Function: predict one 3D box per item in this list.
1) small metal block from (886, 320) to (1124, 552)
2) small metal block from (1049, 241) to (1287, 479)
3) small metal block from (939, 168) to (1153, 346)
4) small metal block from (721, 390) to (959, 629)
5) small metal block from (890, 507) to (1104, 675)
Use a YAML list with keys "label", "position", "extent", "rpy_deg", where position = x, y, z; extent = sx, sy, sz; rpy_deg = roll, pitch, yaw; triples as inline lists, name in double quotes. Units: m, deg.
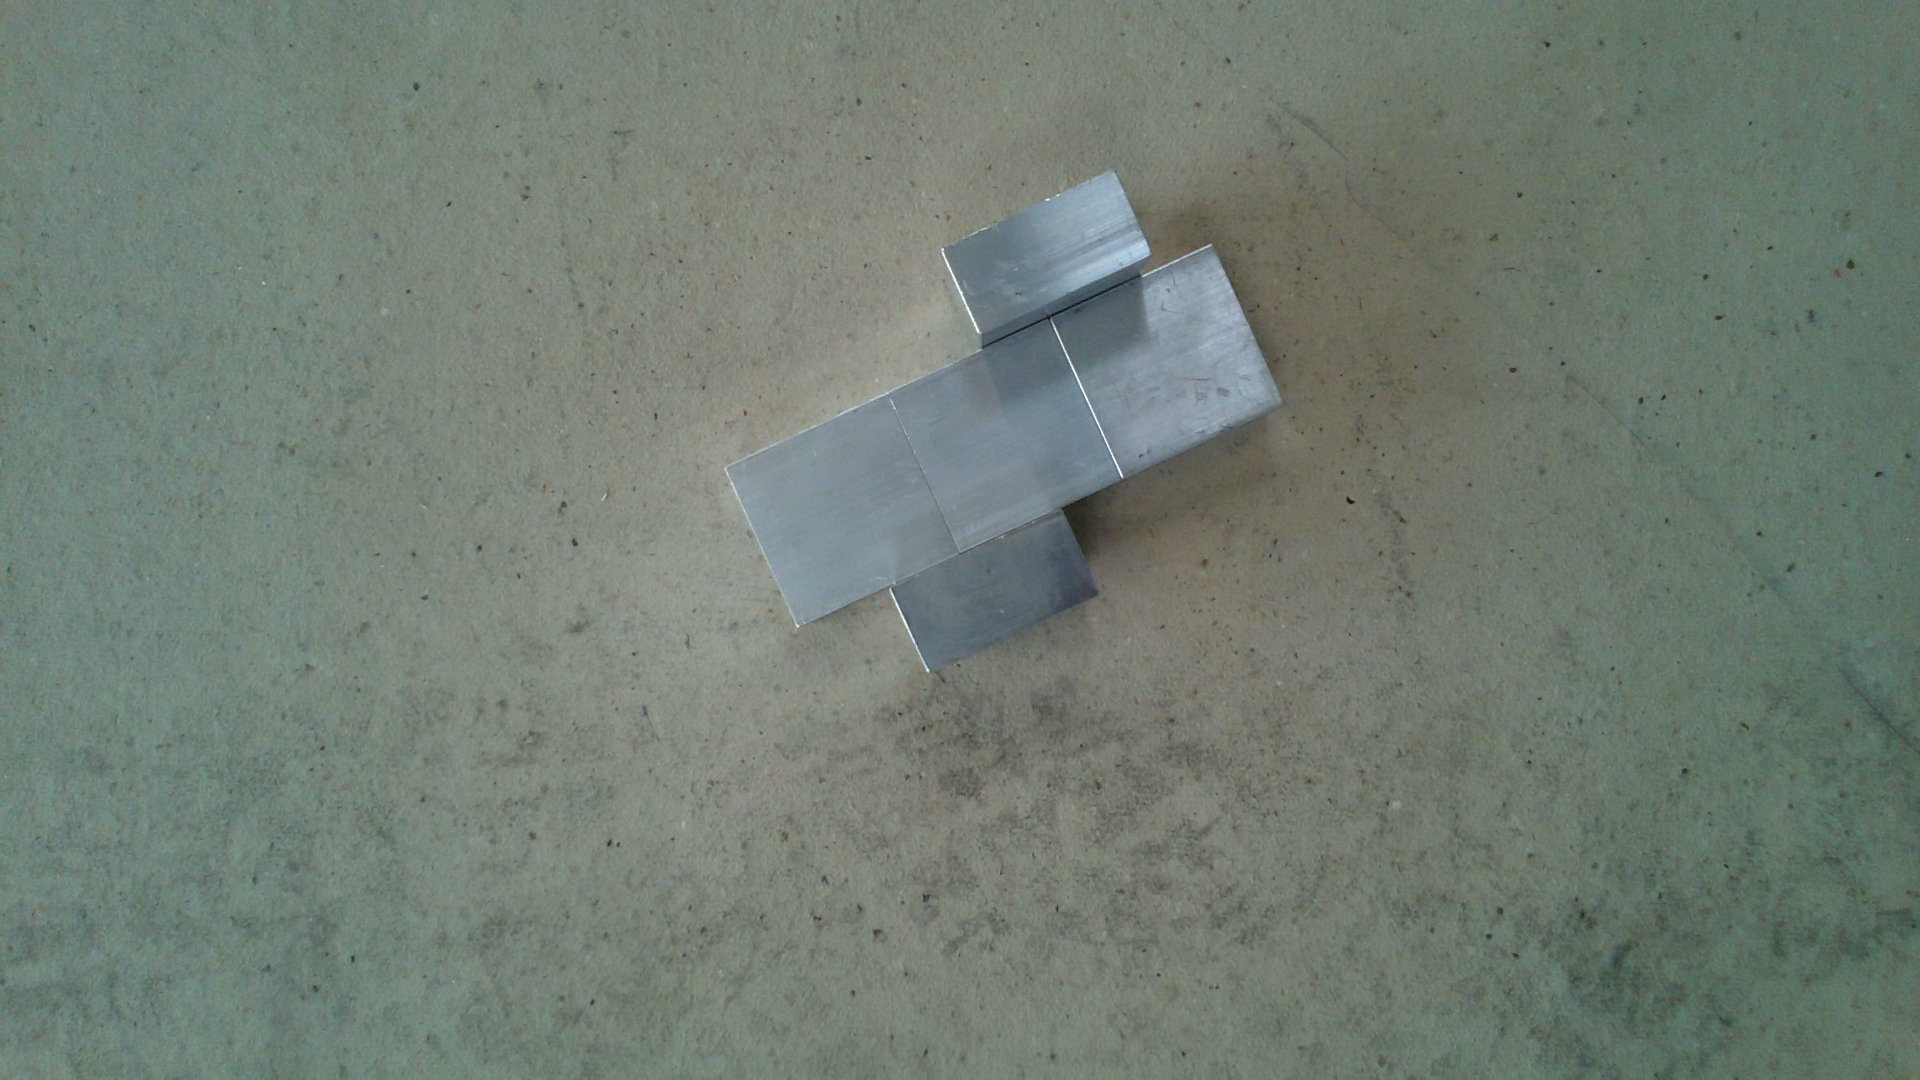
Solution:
- label: "small metal block"
  position: [0.012, -0.029, 0.395]
  extent: [0.050, 0.025, 0.050]
  rpy_deg: [-25, 91, 0]
- label: "small metal block"
  position: [0.058, -0.050, 0.395]
  extent: [0.050, 0.025, 0.050]
  rpy_deg: [-25, 91, 0]
- label: "small metal block"
  position: [0.023, -0.076, 0.383]
  extent: [0.050, 0.050, 0.025]
  rpy_deg: [-24, 90, 1]
- label: "small metal block"
  position: [-0.033, -0.009, 0.395]
  extent: [0.050, 0.025, 0.050]
  rpy_deg: [-25, 91, 0]
- label: "small metal block"
  position: [0.010, 0.013, 0.383]
  extent: [0.050, 0.050, 0.025]
  rpy_deg: [-25, 90, 0]
